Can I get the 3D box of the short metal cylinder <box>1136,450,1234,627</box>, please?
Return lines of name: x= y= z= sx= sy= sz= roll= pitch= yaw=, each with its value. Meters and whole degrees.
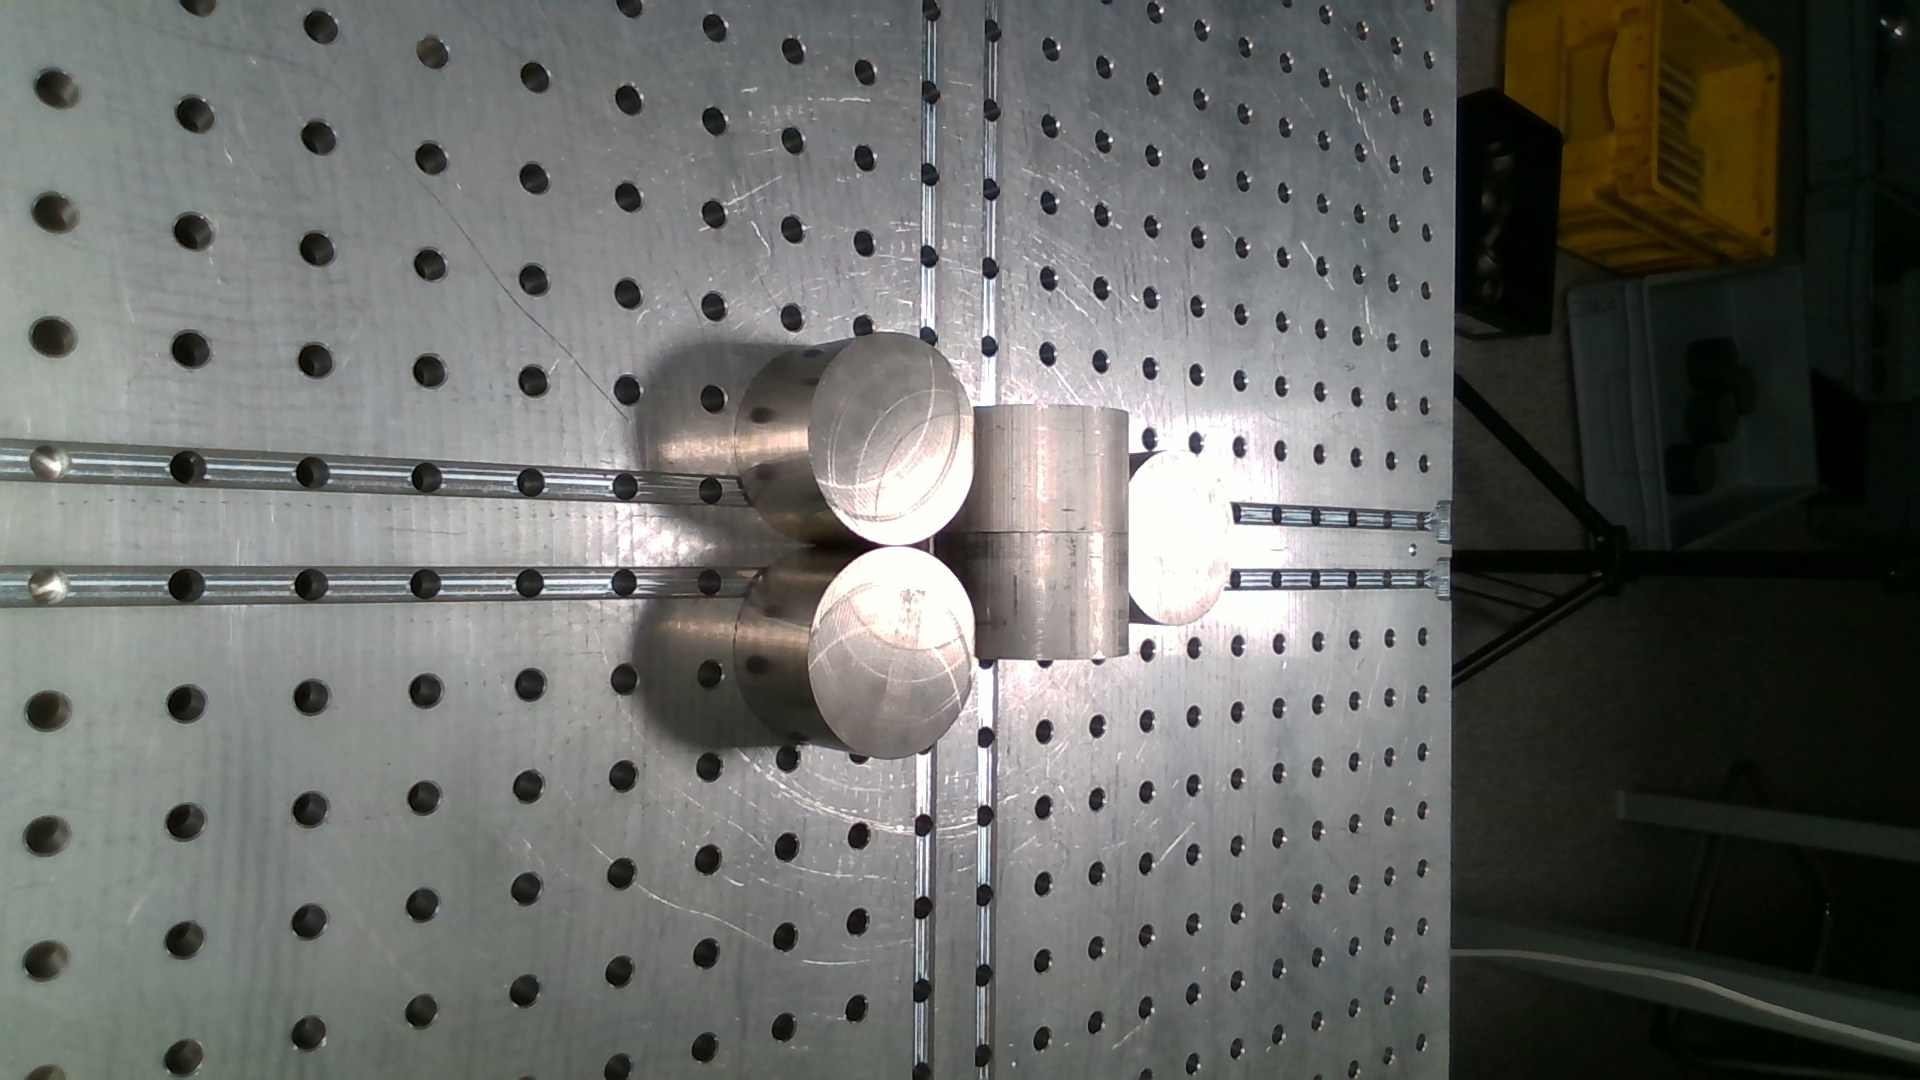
short metal cylinder: x=0.082 y=-0.001 z=0.639 sx=0.080 sy=0.050 sz=0.080 roll=0 pitch=90 yaw=-40

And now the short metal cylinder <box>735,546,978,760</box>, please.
short metal cylinder: x=-0.040 y=0.042 z=0.535 sx=0.080 sy=0.050 sz=0.080 roll=0 pitch=90 yaw=-40

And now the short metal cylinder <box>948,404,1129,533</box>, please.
short metal cylinder: x=0.030 y=-0.028 z=0.576 sx=0.080 sy=0.080 sz=0.050 roll=0 pitch=90 yaw=-40

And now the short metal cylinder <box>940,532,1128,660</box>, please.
short metal cylinder: x=0.030 y=0.022 z=0.577 sx=0.080 sy=0.080 sz=0.050 roll=0 pitch=90 yaw=-40

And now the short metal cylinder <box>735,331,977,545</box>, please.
short metal cylinder: x=-0.040 y=-0.038 z=0.535 sx=0.080 sy=0.050 sz=0.080 roll=0 pitch=90 yaw=-40
